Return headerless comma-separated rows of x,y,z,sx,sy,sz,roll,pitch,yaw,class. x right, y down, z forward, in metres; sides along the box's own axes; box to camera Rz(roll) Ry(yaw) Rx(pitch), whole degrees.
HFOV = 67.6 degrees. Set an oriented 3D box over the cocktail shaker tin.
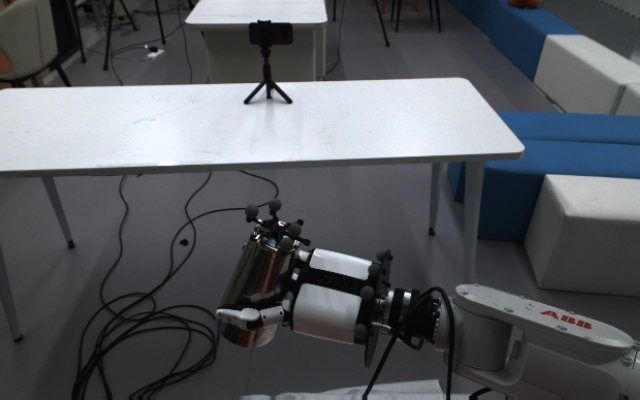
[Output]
-0.081,0.109,0.665,0.093,0.170,0.093,16,31,-10,cocktail shaker tin
